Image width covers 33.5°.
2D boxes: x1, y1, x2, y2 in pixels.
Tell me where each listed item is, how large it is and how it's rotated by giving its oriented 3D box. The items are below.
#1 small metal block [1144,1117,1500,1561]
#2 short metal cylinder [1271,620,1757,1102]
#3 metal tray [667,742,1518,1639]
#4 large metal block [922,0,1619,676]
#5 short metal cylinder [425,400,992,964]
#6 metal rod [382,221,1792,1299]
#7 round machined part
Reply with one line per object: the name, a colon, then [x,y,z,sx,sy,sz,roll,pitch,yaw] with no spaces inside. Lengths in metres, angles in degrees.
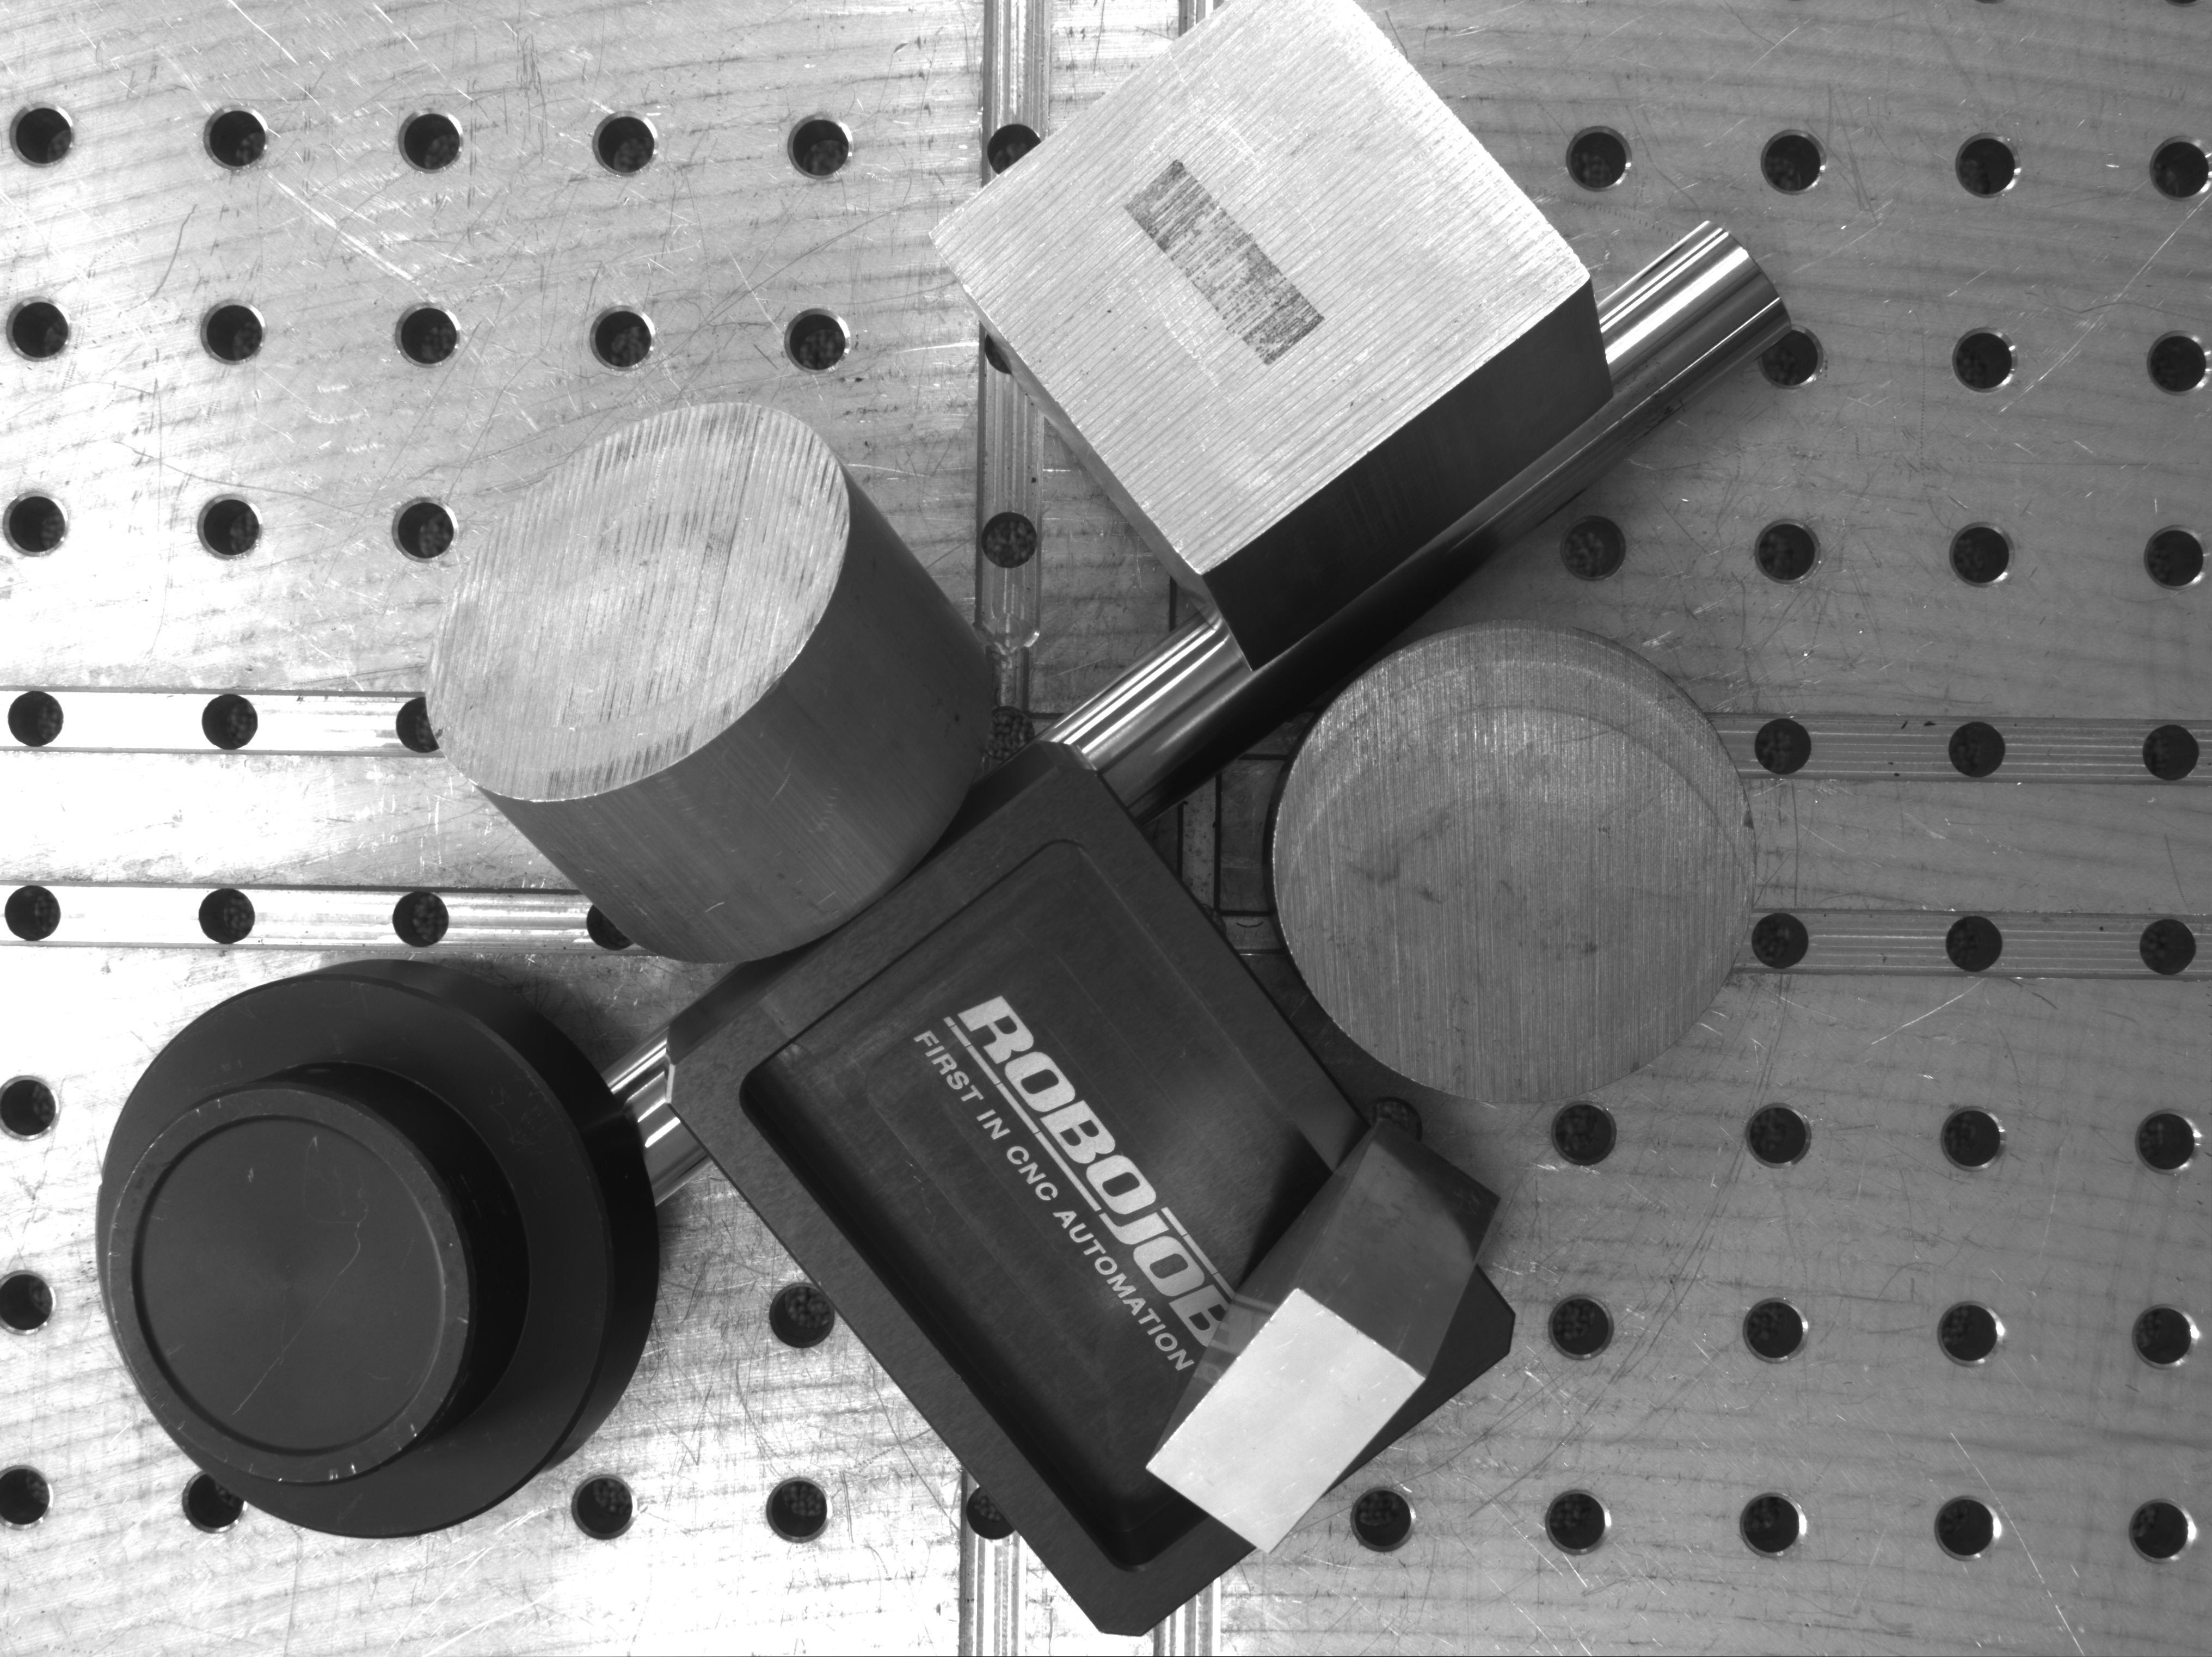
small metal block: [0.036,0.084,0.607,0.025,0.050,0.050,34,125,-2]
short metal cylinder: [0.068,0.005,0.635,0.080,0.050,0.080,0,90,0]
metal tray: [-0.002,0.062,0.631,0.090,0.030,0.130,-38,102,0]
large metal block: [0.029,-0.087,0.624,0.080,0.050,0.080,-37,70,0]
short metal cylinder: [-0.066,-0.025,0.615,0.080,0.050,0.080,-16,50,20]
metal rod: [-0.005,-0.005,0.650,0.300,0.025,0.025,-38,90,1]
round machined part: [-0.130,0.073,0.627,0.098,0.042,0.098,2,96,16]
